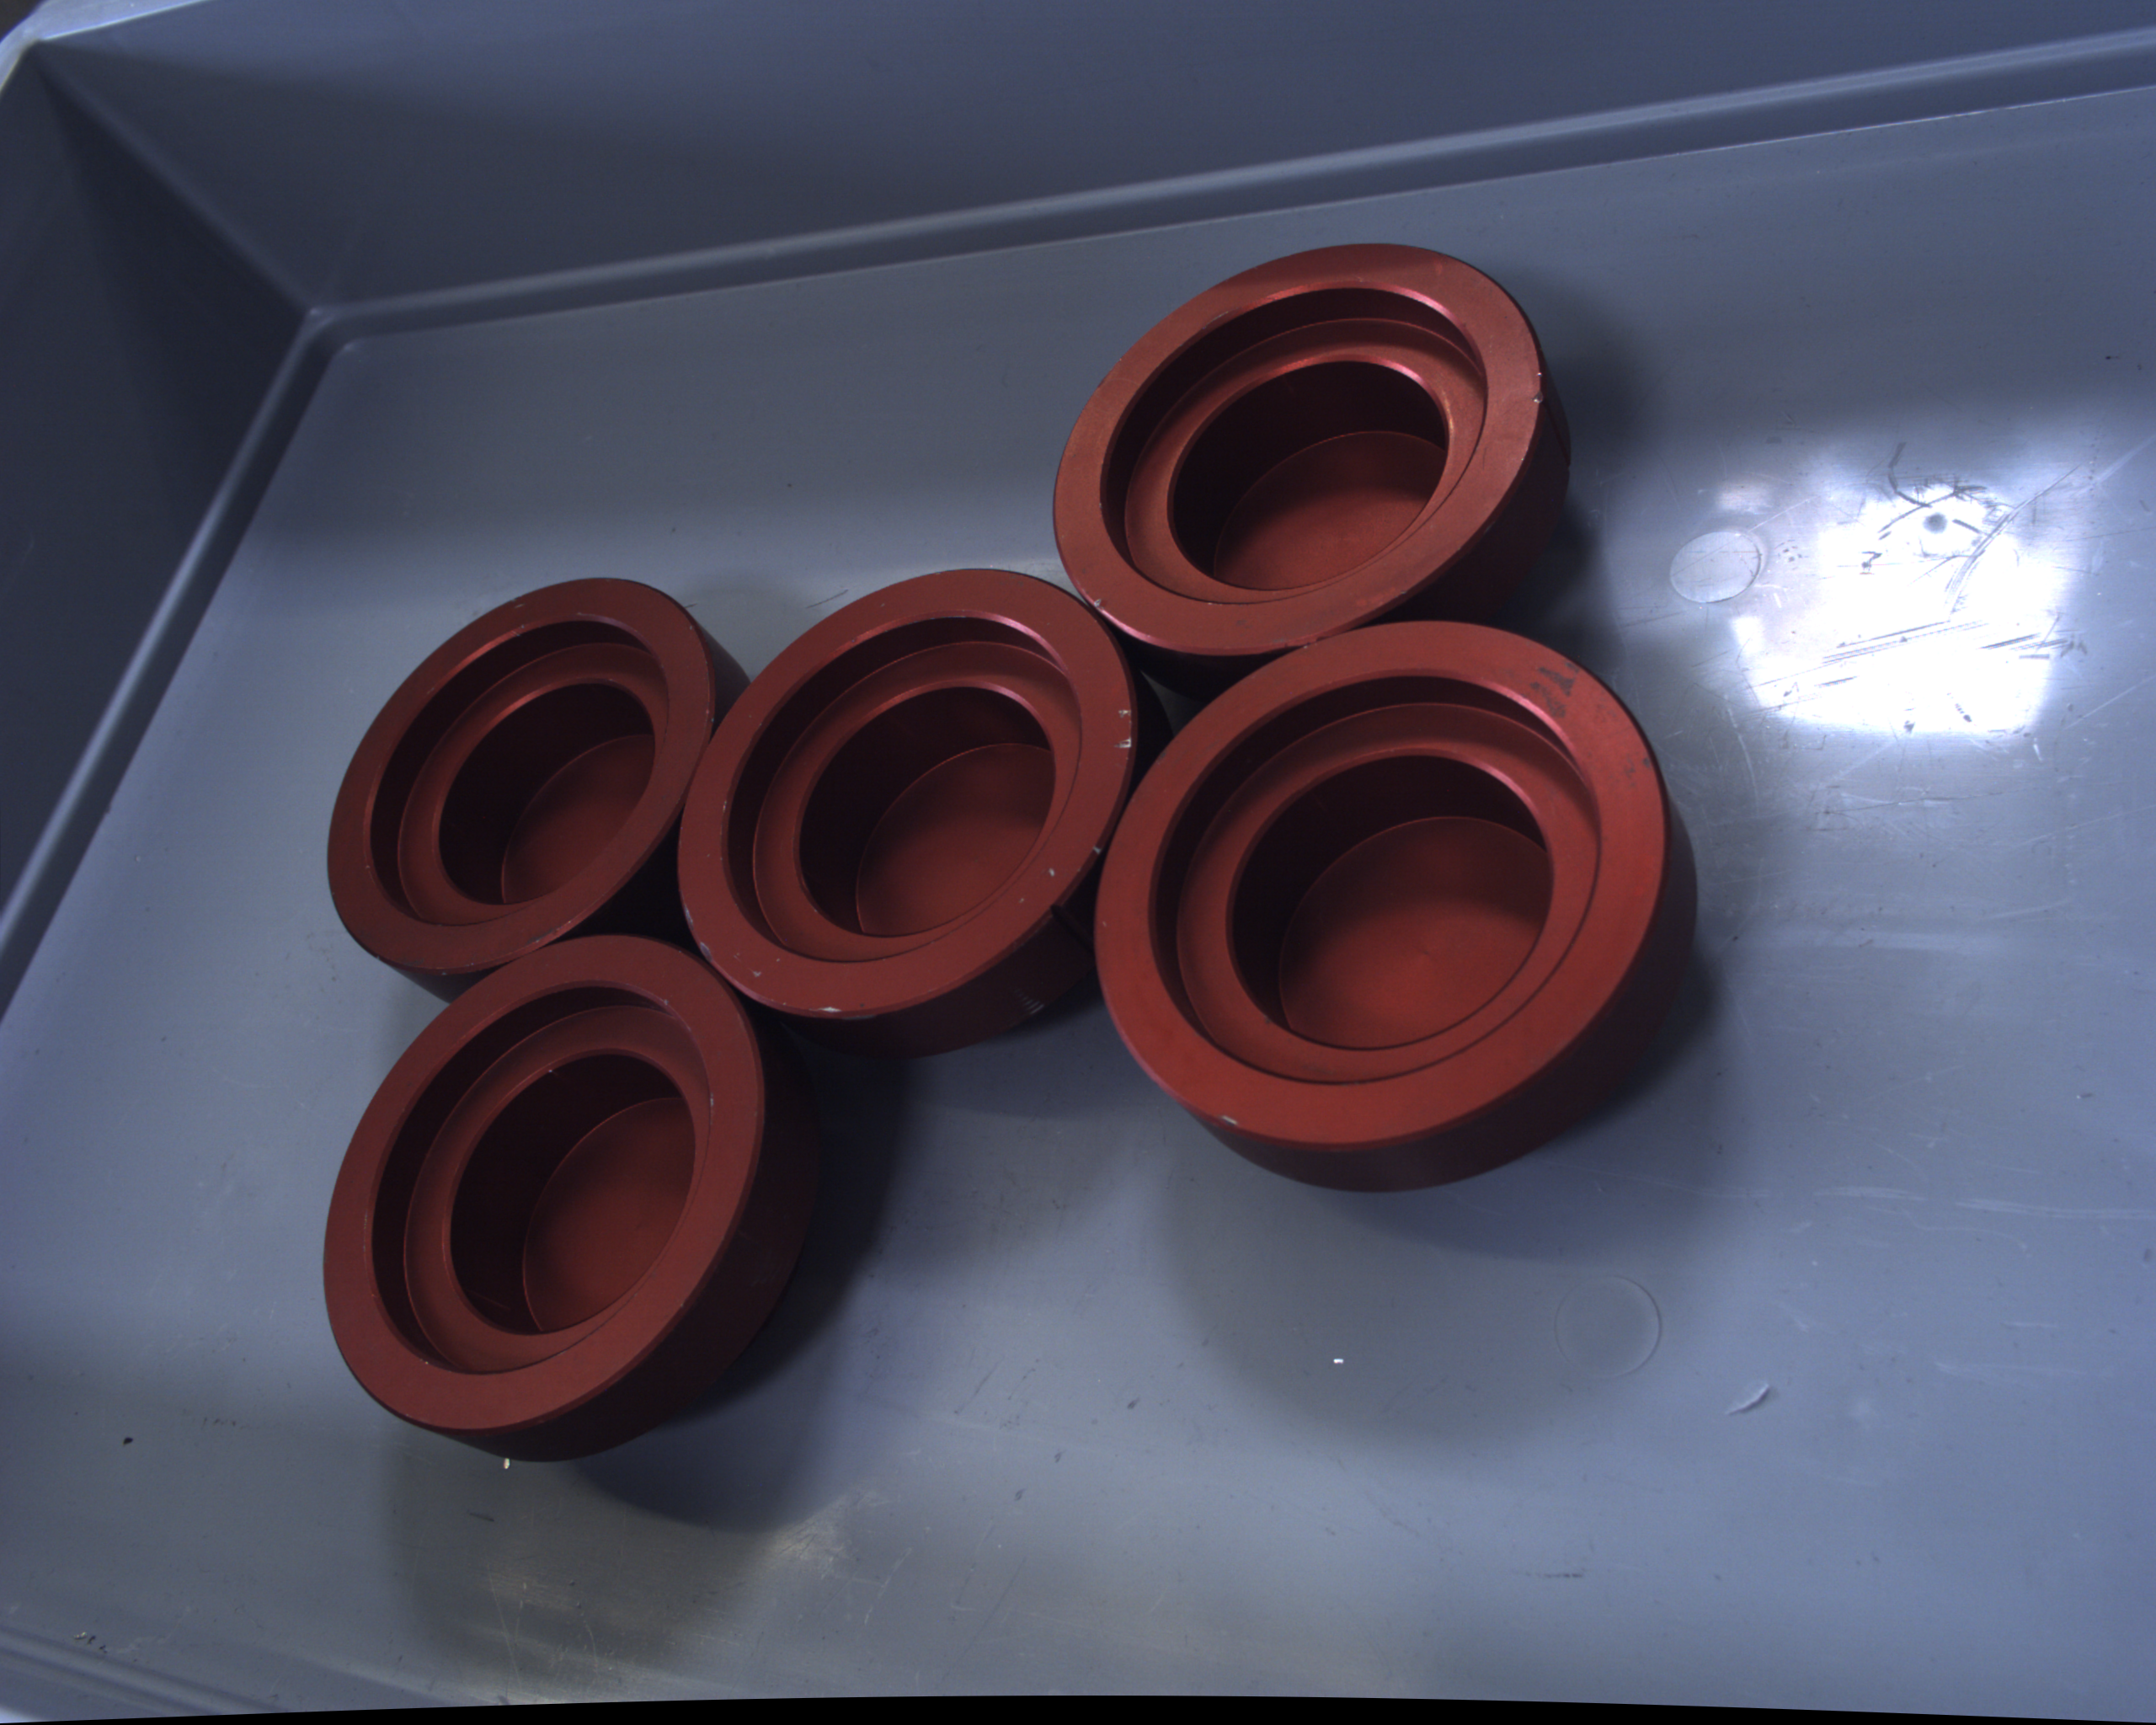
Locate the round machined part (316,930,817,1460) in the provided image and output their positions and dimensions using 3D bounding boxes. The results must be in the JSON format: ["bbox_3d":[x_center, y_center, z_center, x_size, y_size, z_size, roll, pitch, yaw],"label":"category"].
[{"bbox_3d":[-0.092,0.065,0.399,0.098,0.042,0.098,-13,56,21],"label":"round machined part"}]

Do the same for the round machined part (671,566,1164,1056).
[{"bbox_3d":[-0.027,-0.007,0.409,0.098,0.042,0.098,-13,56,21],"label":"round machined part"}]

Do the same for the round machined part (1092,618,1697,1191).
[{"bbox_3d":[0.056,0.010,0.356,0.098,0.042,0.098,-13,56,21],"label":"round machined part"}]

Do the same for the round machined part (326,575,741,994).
[{"bbox_3d":[-0.111,-0.011,0.458,0.098,0.042,0.098,-13,56,21],"label":"round machined part"}]

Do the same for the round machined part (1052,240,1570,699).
[{"bbox_3d":[0.048,-0.071,0.410,0.098,0.042,0.098,-13,56,21],"label":"round machined part"}]
